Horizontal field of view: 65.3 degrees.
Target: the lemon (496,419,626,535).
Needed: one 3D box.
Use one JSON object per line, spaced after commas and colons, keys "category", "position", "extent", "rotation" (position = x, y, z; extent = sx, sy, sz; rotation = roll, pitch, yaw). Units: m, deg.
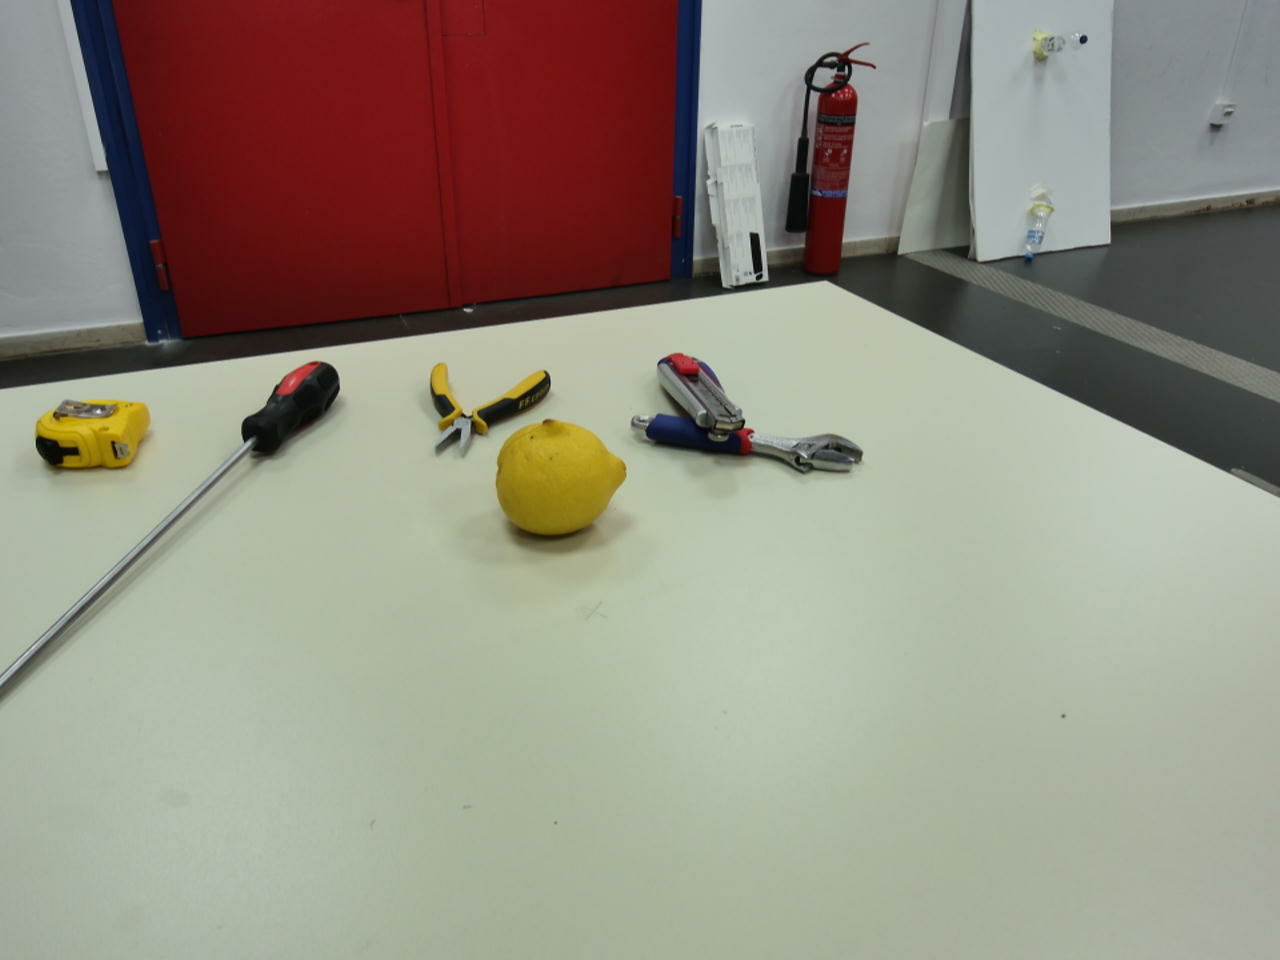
{"category": "lemon", "position": [-0.051, -0.004, 0.586], "extent": [0.071, 0.071, 0.070], "rotation": [15, 30, 28]}
